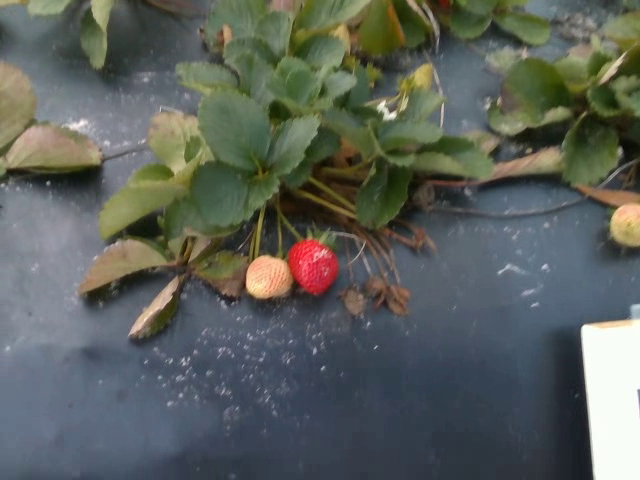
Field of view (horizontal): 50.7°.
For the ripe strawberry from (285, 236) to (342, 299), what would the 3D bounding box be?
[{"bbox_3d":[-0.004,0.016,0.396,0.034,0.033,0.042,27,24,-5],"label":"ripe strawberry"}]
